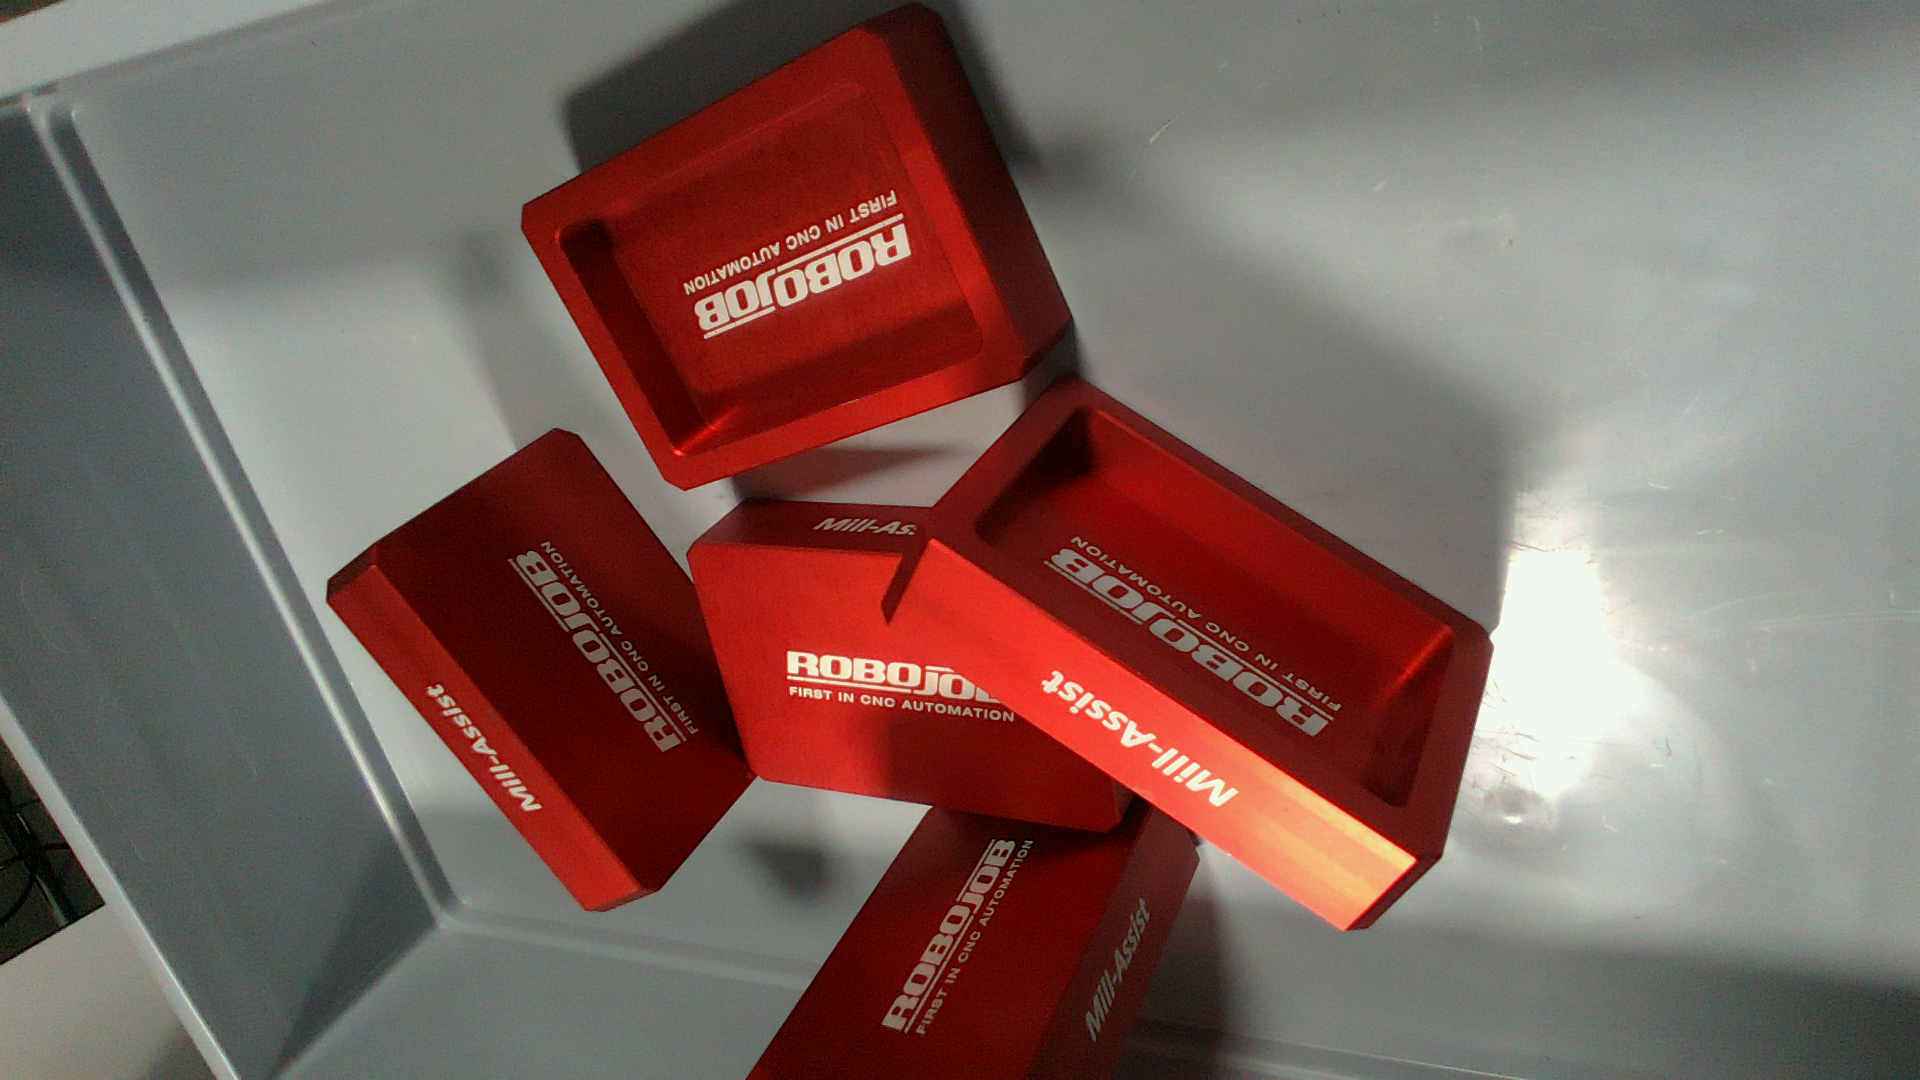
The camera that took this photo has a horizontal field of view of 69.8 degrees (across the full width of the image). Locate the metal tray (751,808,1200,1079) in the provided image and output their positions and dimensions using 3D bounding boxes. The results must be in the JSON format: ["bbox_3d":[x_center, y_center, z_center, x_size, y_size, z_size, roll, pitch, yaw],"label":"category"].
[{"bbox_3d":[0.007,0.125,0.395,0.090,0.130,0.030,-14,112,33],"label":"metal tray"}]

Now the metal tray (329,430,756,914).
[{"bbox_3d":[-0.121,0.040,0.439,0.030,0.090,0.130,-27,104,36],"label":"metal tray"}]

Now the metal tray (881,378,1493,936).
[{"bbox_3d":[0.058,0.022,0.331,0.130,0.090,0.030,33,130,7],"label":"metal tray"}]

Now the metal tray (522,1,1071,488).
[{"bbox_3d":[-0.046,-0.073,0.368,0.129,0.030,0.090,-14,111,34],"label":"metal tray"}]

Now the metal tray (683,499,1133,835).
[{"bbox_3d":[-0.013,0.036,0.416,0.130,0.030,0.090,3,120,27],"label":"metal tray"}]
